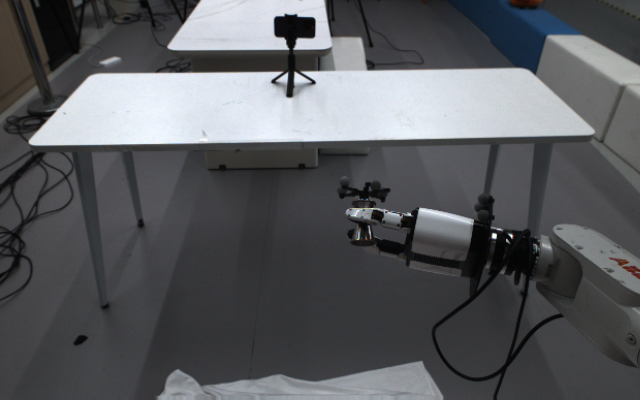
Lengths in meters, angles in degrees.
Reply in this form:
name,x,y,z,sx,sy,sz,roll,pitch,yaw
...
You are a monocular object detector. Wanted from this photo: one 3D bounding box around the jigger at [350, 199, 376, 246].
name,x,y,z,sx,sy,sz,roll,pitch,yaw
jigger,0.068,0.035,0.775,0.043,0.043,0.071,3,72,1
